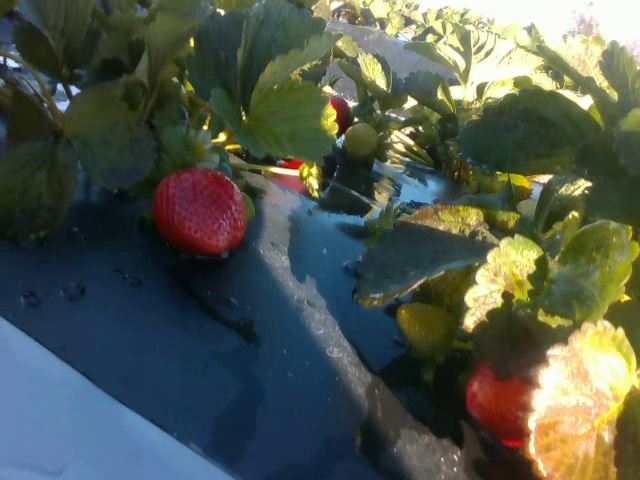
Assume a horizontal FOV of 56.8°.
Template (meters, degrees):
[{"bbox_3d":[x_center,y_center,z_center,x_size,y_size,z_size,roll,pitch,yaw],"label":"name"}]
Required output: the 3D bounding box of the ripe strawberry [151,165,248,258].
[{"bbox_3d":[-0.050,-0.010,0.247,0.045,0.042,0.059,-25,42,1],"label":"ripe strawberry"}]
